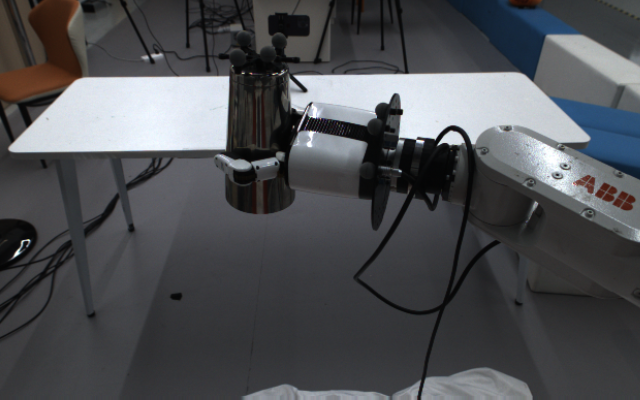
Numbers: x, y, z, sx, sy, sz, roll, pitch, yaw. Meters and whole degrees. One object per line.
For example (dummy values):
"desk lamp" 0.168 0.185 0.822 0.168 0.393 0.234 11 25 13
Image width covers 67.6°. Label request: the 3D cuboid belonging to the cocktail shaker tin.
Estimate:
"cocktail shaker tin" -0.070 -0.079 0.584 0.093 0.170 0.093 3 34 -2
